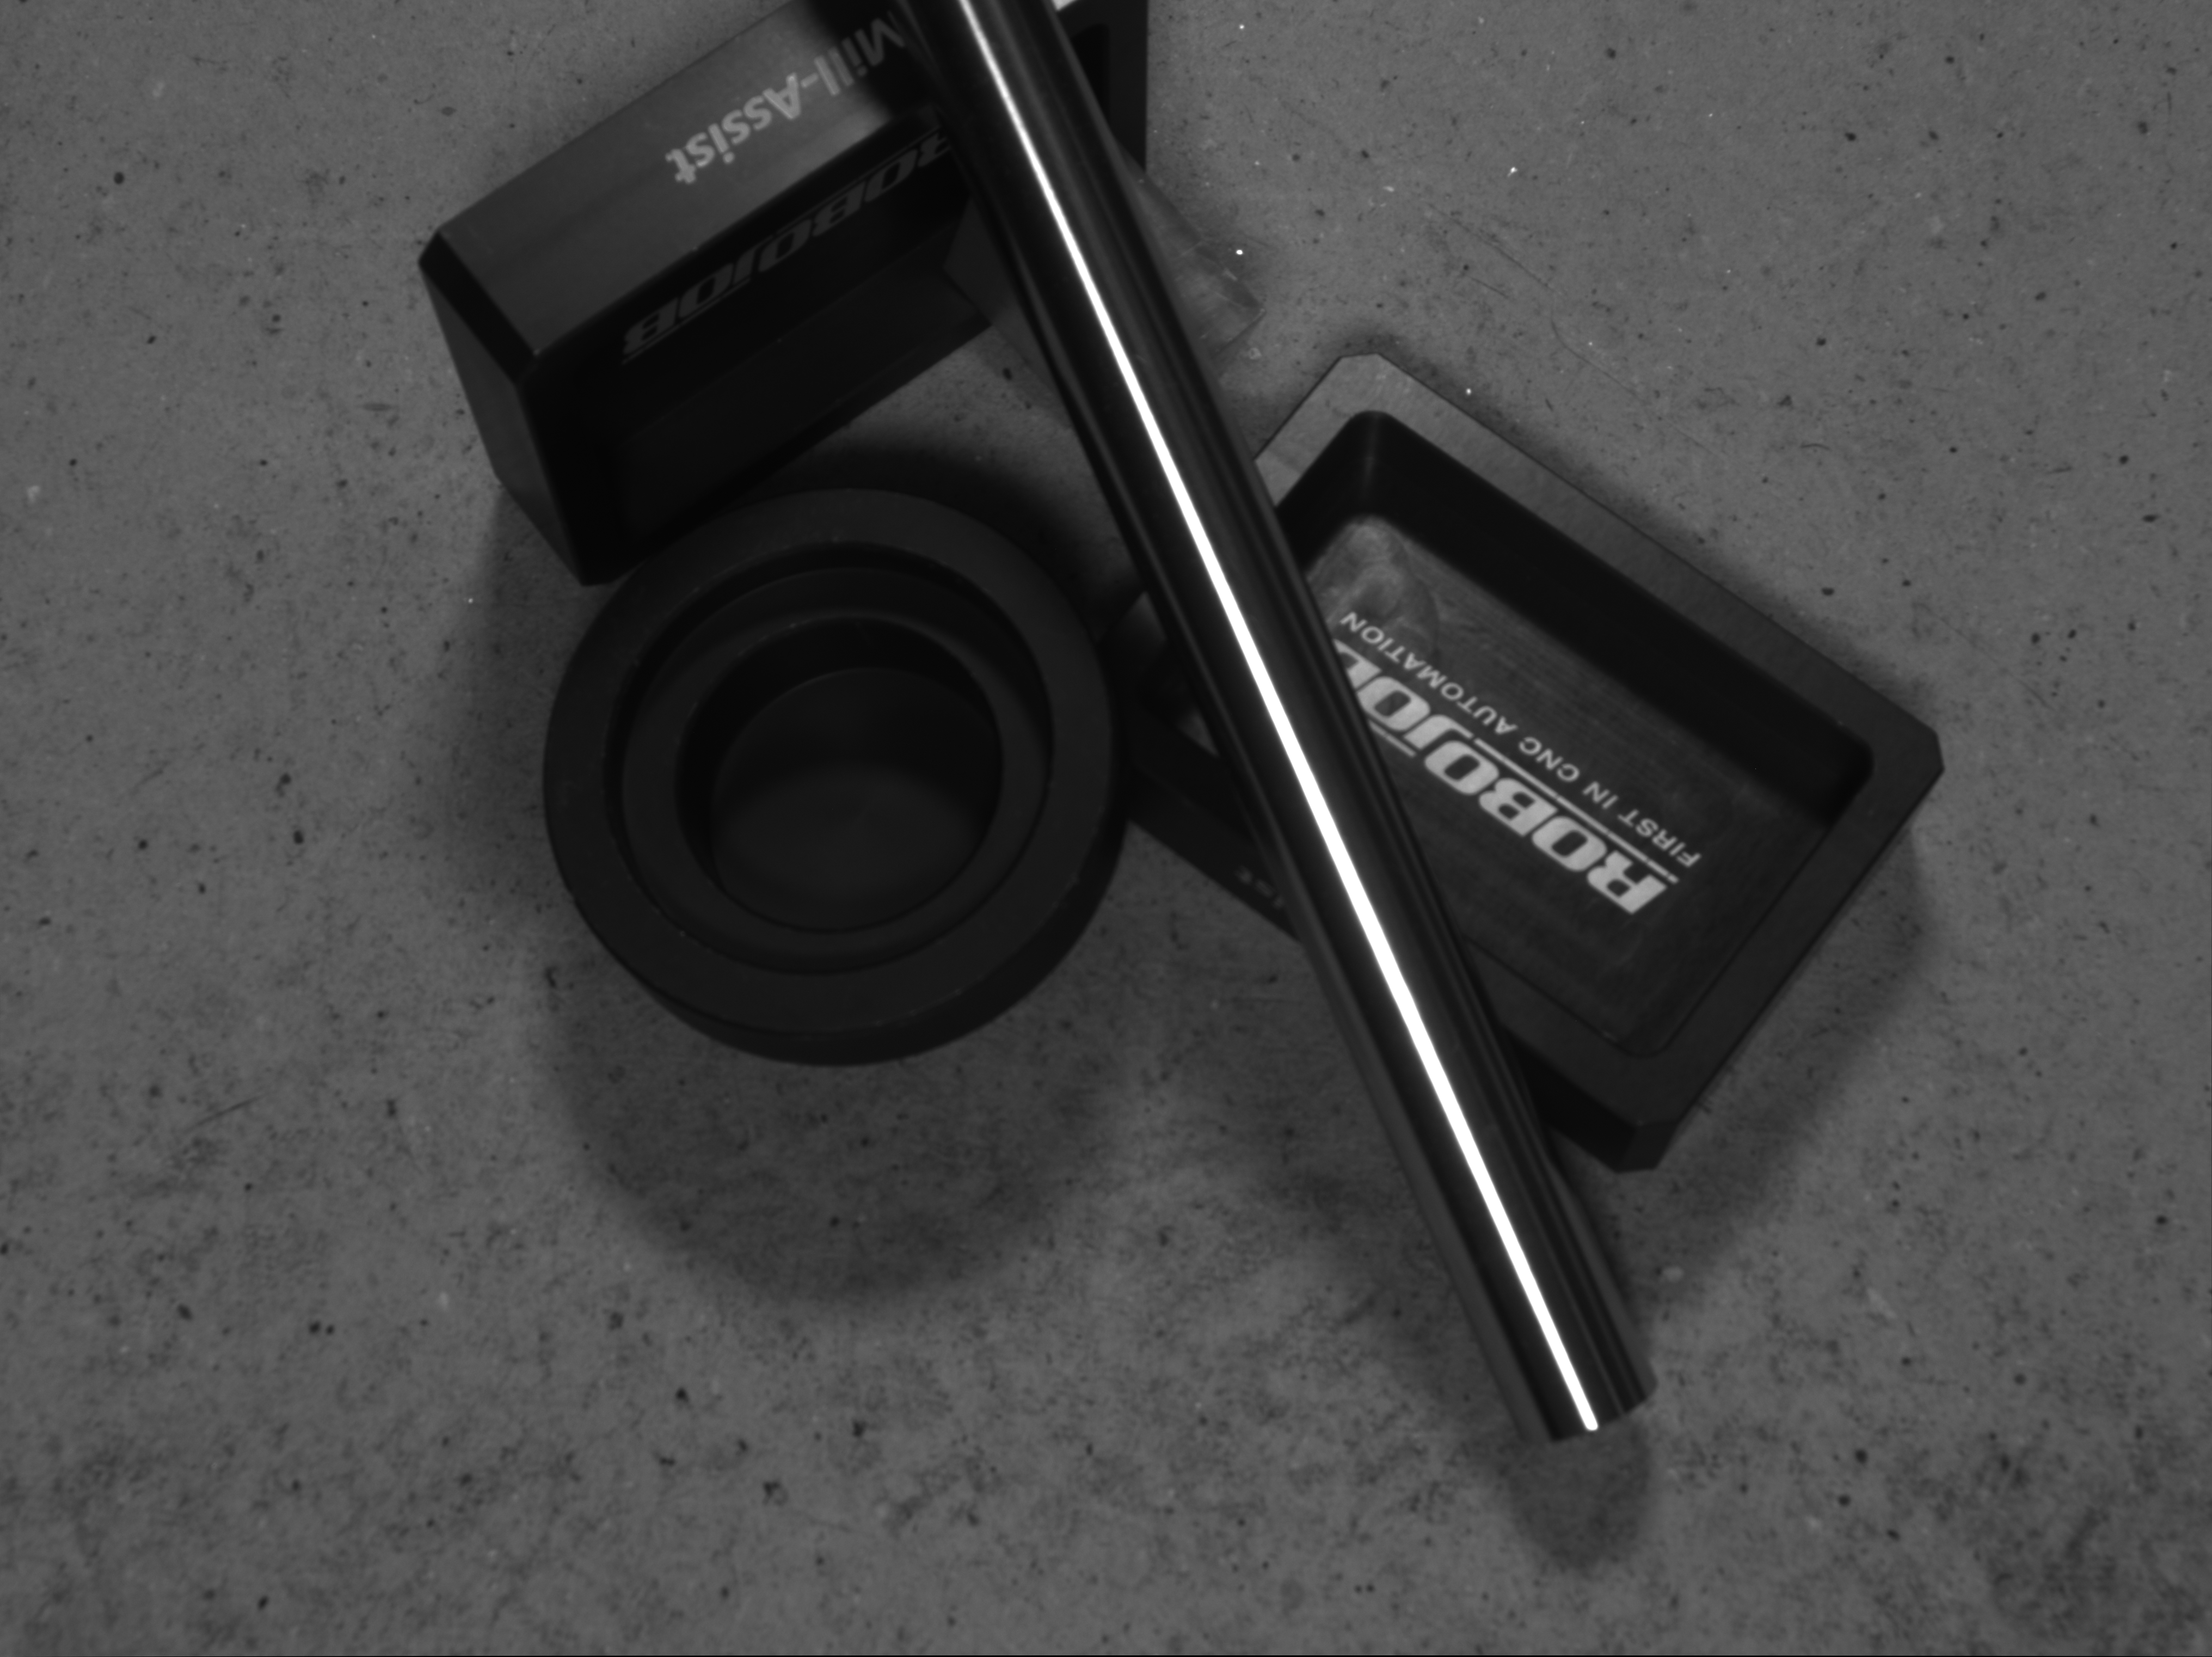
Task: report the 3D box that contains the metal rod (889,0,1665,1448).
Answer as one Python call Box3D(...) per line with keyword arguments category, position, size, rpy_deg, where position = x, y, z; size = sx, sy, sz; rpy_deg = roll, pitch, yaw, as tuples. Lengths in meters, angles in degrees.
Box3D(category="metal rod", position=(0.021, -0.039, 0.602), size=(0.025, 0.025, 0.300), rpy_deg=(-24, 93, -9))

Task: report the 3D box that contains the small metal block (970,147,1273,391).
Box3D(category="small metal block", position=(0.000, -0.097, 0.662), size=(0.025, 0.050, 0.050), rpy_deg=(-41, 89, -11))

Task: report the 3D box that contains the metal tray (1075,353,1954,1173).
Box3D(category="metal tray", position=(0.070, -0.013, 0.647), size=(0.130, 0.030, 0.090), rpy_deg=(36, 74, 12))

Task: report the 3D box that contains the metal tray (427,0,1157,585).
Box3D(category="metal tray", position=(-0.051, -0.106, 0.649), size=(0.130, 0.090, 0.030), rpy_deg=(-36, 74, -12))

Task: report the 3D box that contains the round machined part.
Box3D(category="round machined part", position=(-0.043, -0.006, 0.634), size=(0.098, 0.042, 0.098), rpy_deg=(-2, 73, 6))
